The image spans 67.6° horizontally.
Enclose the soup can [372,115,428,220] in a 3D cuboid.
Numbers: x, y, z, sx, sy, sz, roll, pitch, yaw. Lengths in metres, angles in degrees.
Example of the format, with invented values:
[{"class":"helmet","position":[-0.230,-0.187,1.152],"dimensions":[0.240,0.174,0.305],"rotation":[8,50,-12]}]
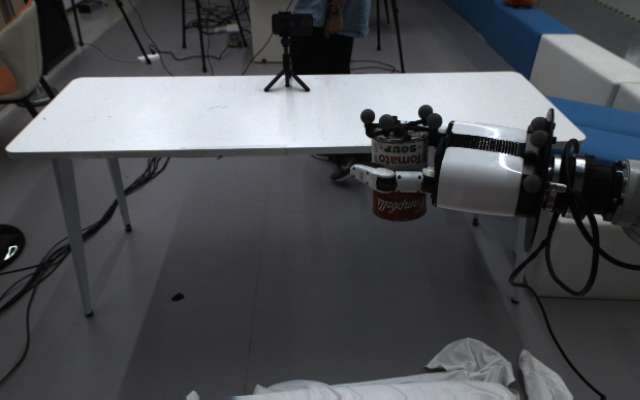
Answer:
[{"class":"soup can","position":[0.099,-0.034,0.584],"dimensions":[0.067,0.101,0.067],"rotation":[-4,26,2]}]
